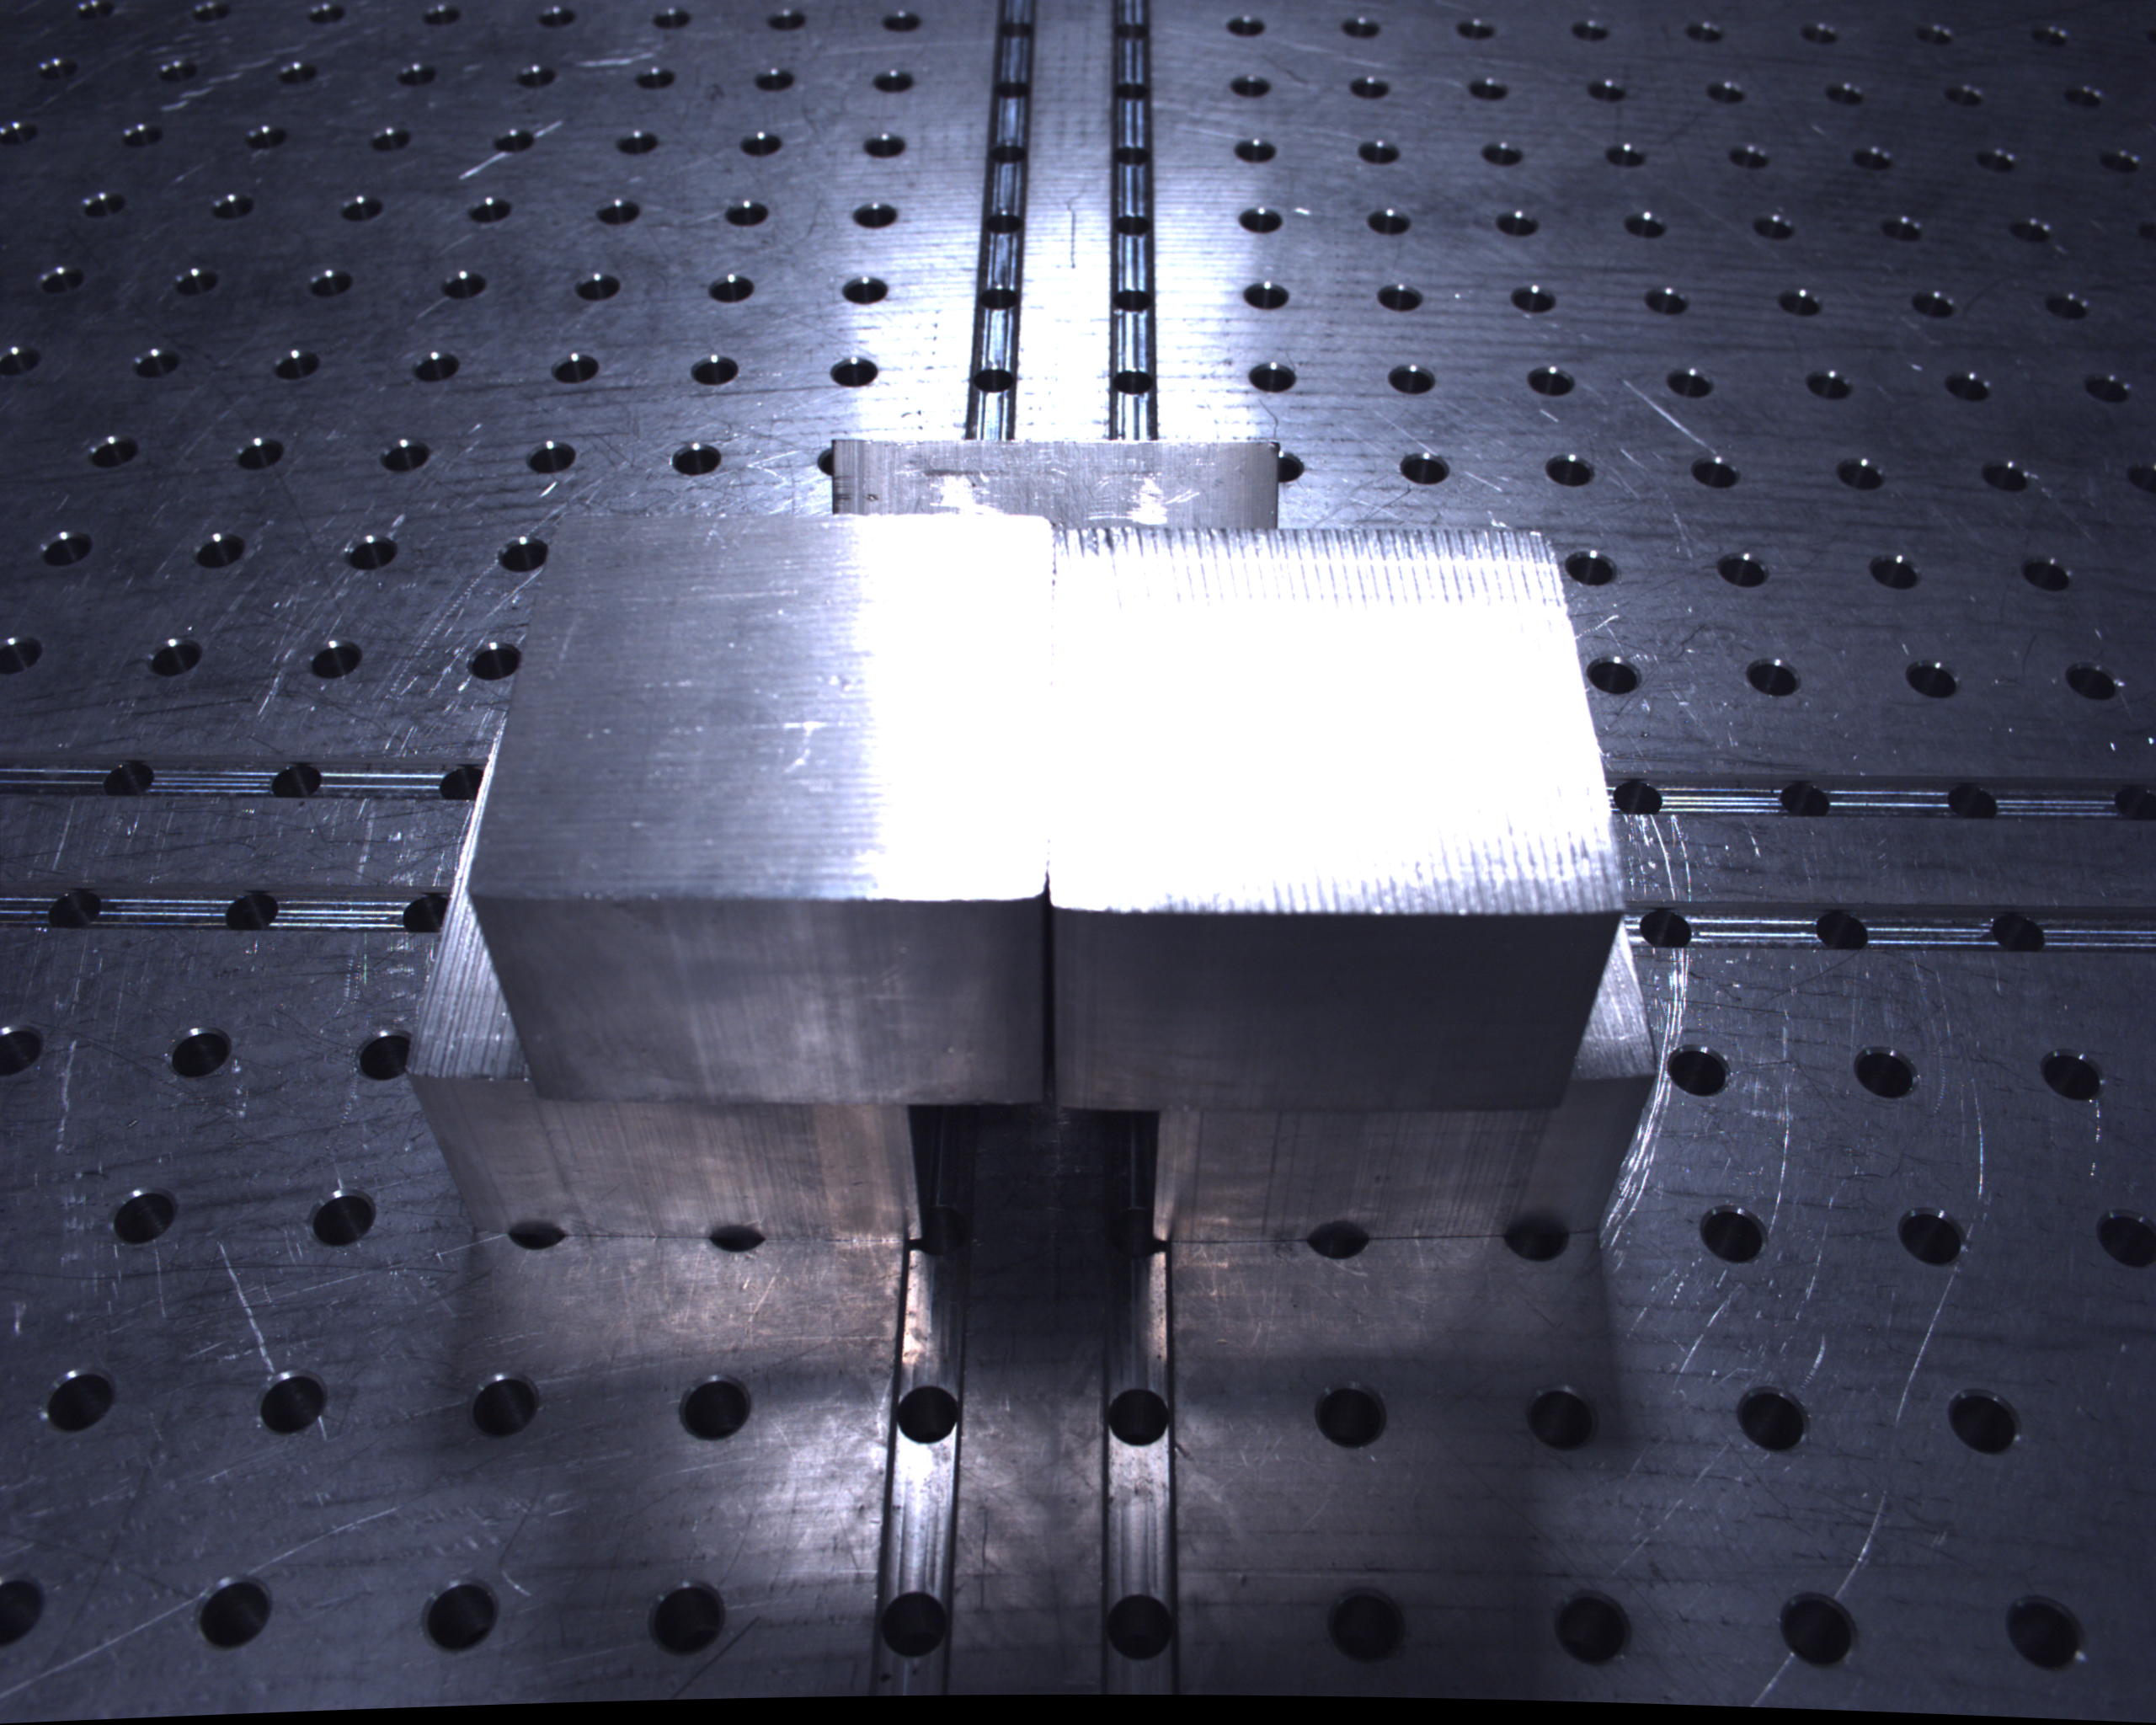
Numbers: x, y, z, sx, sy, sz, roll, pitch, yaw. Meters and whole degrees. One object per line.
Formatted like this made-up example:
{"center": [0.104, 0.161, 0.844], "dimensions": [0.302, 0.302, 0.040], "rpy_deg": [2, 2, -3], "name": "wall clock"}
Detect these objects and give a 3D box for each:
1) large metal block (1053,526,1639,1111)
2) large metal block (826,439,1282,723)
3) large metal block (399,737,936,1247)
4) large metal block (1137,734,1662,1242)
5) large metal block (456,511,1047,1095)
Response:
{"center": [0.037, -0.008, 0.331], "dimensions": [0.081, 0.050, 0.080], "rpy_deg": [0, 50, -1], "name": "large metal block"}
{"center": [-0.004, -0.056, 0.411], "dimensions": [0.081, 0.050, 0.080], "rpy_deg": [0, 8, 0], "name": "large metal block"}
{"center": [-0.066, 0.020, 0.374], "dimensions": [0.081, 0.050, 0.080], "rpy_deg": [1, 50, 0], "name": "large metal block"}
{"center": [0.052, 0.020, 0.375], "dimensions": [0.081, 0.050, 0.080], "rpy_deg": [-1, 50, -1], "name": "large metal block"}
{"center": [-0.045, -0.010, 0.331], "dimensions": [0.081, 0.050, 0.080], "rpy_deg": [0, 50, -1], "name": "large metal block"}
